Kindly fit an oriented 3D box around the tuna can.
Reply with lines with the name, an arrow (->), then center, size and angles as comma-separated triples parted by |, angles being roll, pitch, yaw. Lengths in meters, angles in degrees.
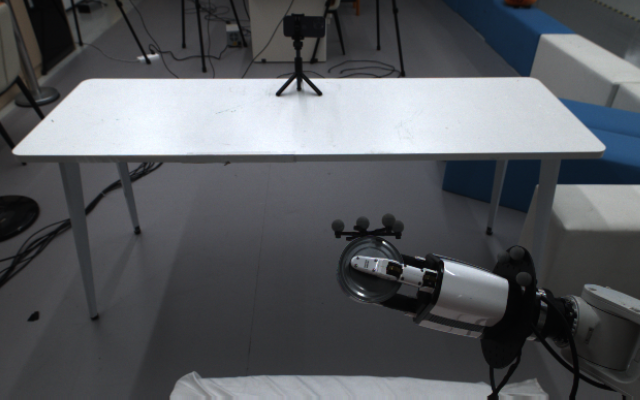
tuna can -> 0.066, 0.089, 0.624 | 0.085, 0.034, 0.085 | 1, 70, -4
